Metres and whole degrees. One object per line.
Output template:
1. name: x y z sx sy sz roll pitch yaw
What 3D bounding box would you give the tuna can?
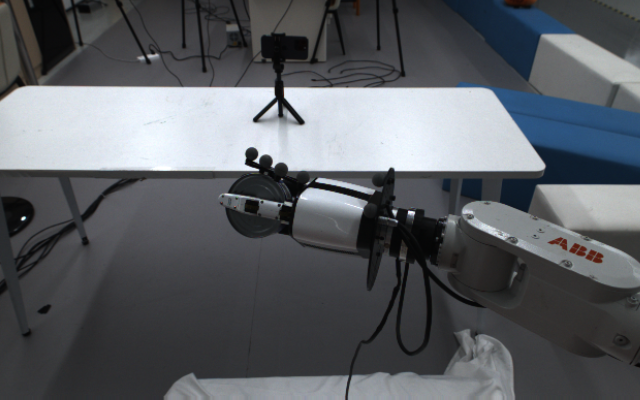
1. tuna can: -0.078 0.006 0.645 0.085 0.085 0.034 13 2 16
